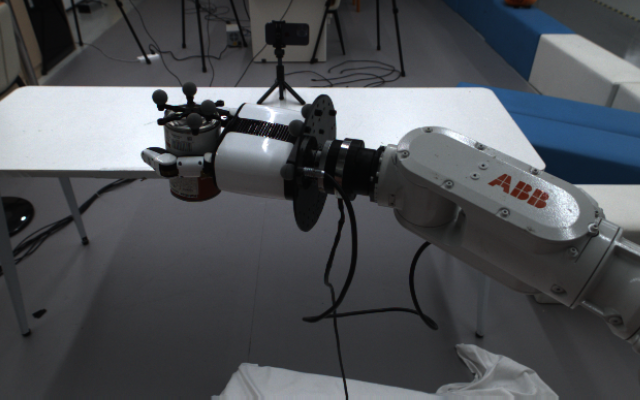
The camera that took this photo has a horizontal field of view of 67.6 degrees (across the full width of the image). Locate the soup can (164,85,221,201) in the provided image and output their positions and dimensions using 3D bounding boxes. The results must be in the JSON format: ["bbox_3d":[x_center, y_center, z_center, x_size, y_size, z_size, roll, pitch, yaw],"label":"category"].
[{"bbox_3d":[-0.154,-0.056,0.597,0.067,0.101,0.067,5,37,-4],"label":"soup can"}]
